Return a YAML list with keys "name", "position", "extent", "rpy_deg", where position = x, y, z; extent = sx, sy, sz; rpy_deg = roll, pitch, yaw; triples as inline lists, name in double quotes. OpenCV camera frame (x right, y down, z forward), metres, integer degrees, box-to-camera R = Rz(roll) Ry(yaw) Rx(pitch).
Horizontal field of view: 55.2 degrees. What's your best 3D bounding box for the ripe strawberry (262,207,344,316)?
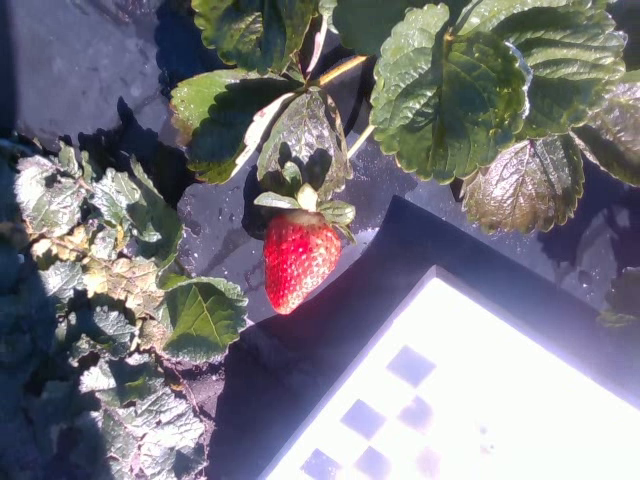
- name: "ripe strawberry"
  position: [-0.014, 0.014, 0.333]
  extent: [0.048, 0.069, 0.040]
  rpy_deg: [18, 17, 5]
